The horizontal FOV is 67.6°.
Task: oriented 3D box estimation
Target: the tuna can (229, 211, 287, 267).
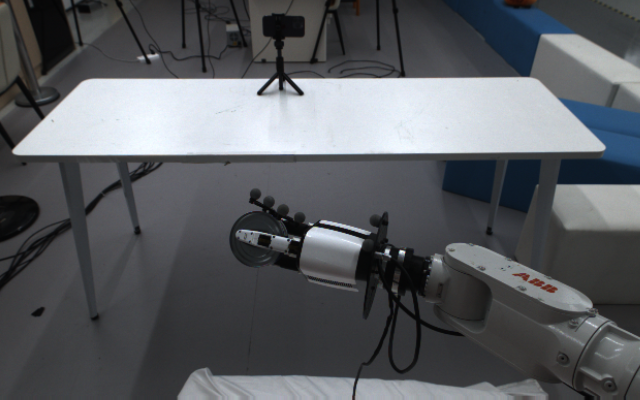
[{"bbox_3d":[-0.092,0.061,0.743,0.085,0.085,0.034,10,-4,11],"label":"tuna can"}]
